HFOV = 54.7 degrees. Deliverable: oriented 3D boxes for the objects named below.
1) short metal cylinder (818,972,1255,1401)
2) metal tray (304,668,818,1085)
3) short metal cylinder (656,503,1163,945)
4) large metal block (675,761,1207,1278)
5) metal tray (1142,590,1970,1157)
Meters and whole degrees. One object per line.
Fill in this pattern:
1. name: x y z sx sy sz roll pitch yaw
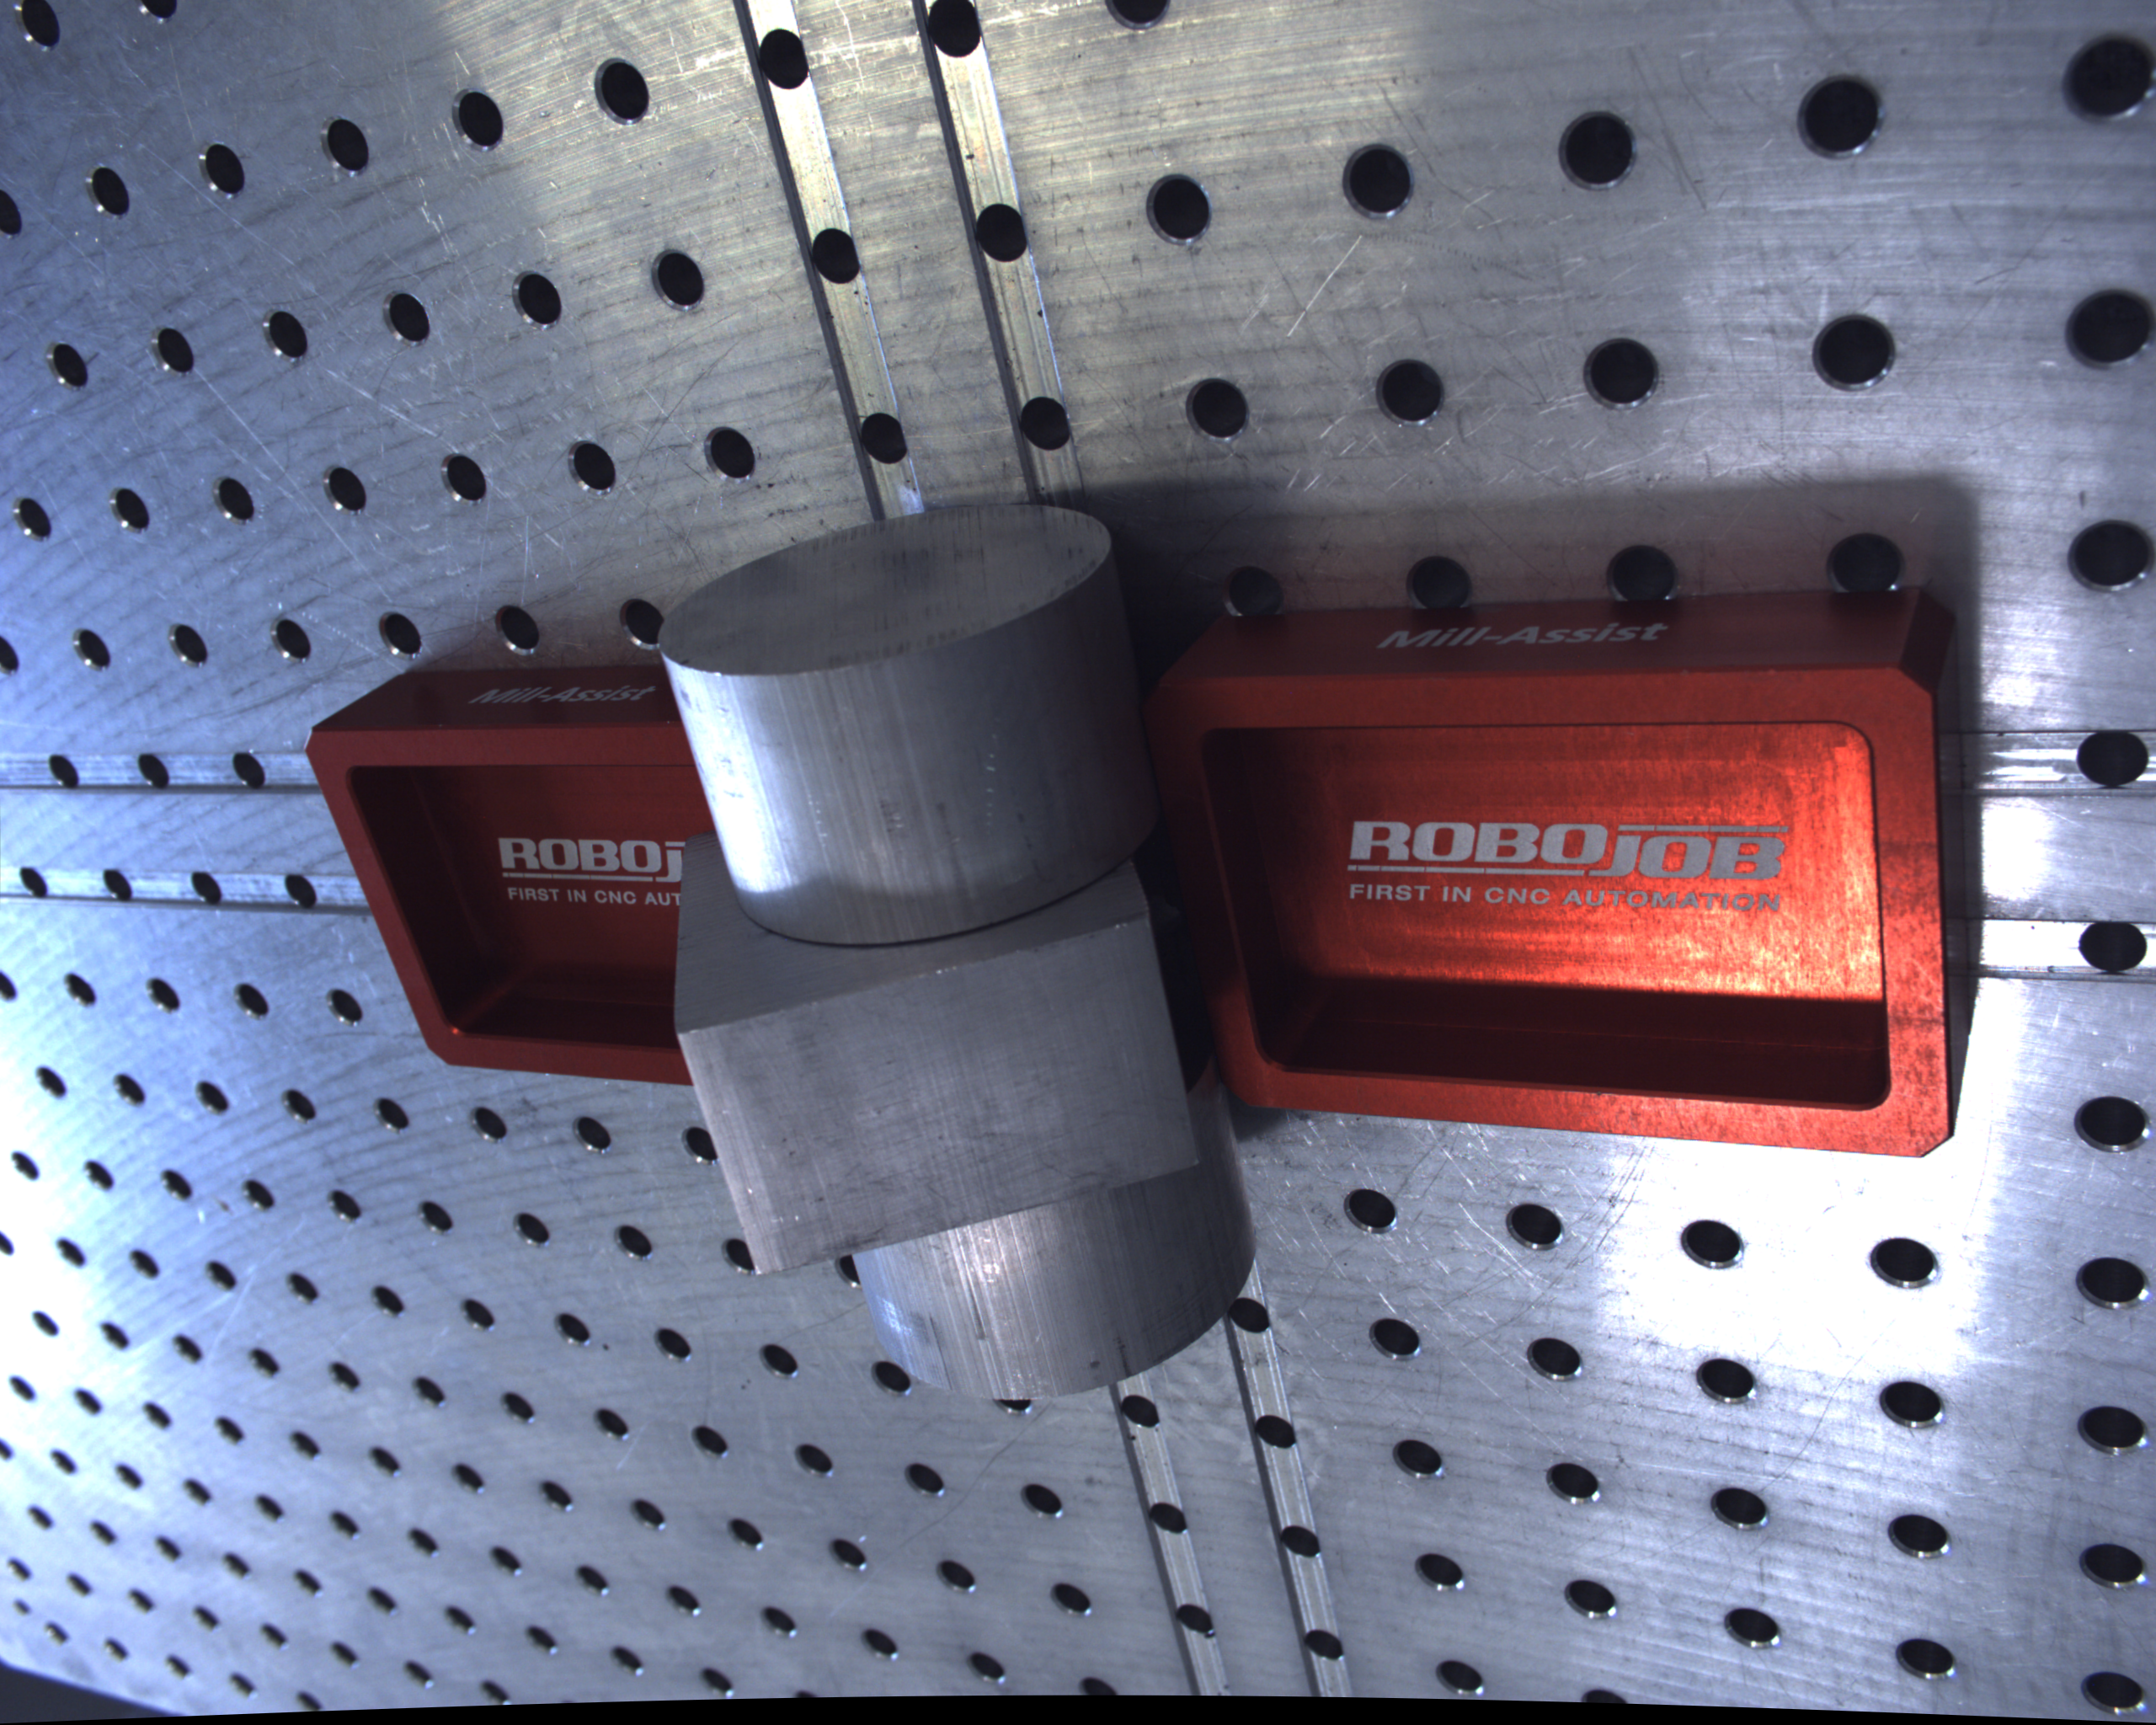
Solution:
1. short metal cylinder: -0.008 0.061 0.417 0.080 0.080 0.050 2 119 27
2. metal tray: -0.100 0.004 0.463 0.130 0.030 0.089 1 119 27
3. short metal cylinder: -0.029 -0.027 0.374 0.080 0.080 0.050 2 119 27
4. large metal block: -0.027 0.024 0.386 0.080 0.080 0.050 -13 116 -4
5. metal tray: 0.083 0.002 0.365 0.130 0.030 0.089 1 119 27
